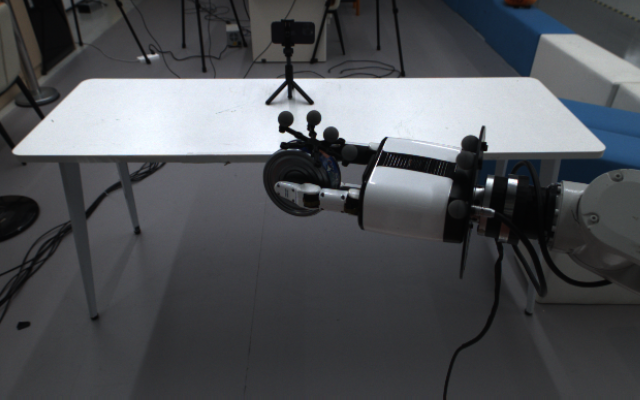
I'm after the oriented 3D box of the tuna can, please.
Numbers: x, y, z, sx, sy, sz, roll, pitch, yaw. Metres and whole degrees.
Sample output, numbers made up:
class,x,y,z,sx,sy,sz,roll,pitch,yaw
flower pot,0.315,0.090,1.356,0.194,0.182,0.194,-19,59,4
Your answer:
class,x,y,z,sx,sy,sz,roll,pitch,yaw
tuna can,-0.017,-0.018,0.553,0.085,0.085,0.034,15,31,18
